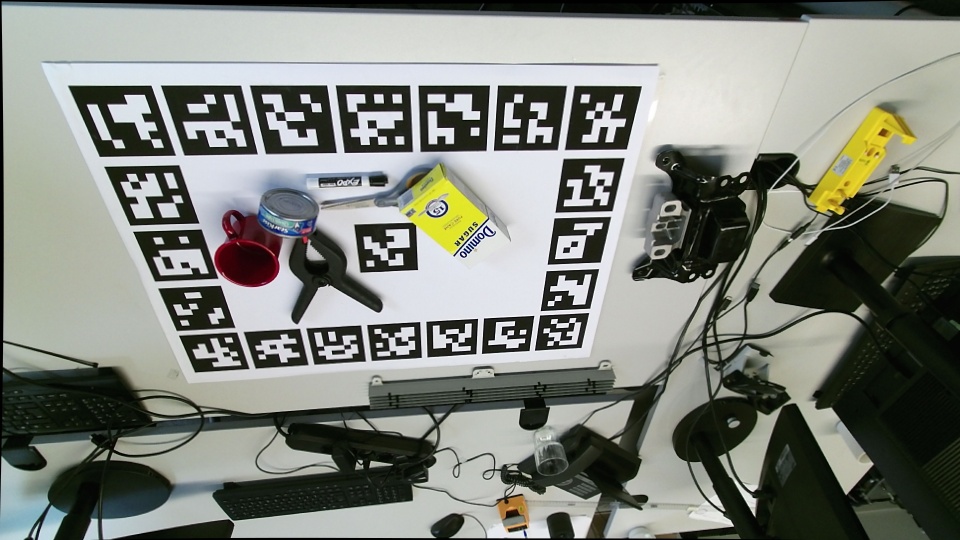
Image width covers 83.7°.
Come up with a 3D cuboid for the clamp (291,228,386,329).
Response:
[{"bbox_3d":[-0.267,0.011,0.929,0.166,0.036,0.203,-11,126,0],"label":"clamp"}]

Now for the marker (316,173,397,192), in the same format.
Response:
[{"bbox_3d":[-0.190,-0.136,0.832,0.121,0.019,0.019,-6,125,-5],"label":"marker"}]

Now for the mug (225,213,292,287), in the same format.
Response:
[{"bbox_3d":[-0.350,-0.041,0.842,0.093,0.081,0.117,-25,129,10],"label":"mug"}]

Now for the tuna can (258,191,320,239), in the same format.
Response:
[{"bbox_3d":[-0.289,-0.084,0.813,0.086,0.085,0.034,12,123,-17],"label":"tuna can"}]

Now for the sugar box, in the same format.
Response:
[{"bbox_3d":[-0.038,-0.081,0.873,0.093,0.045,0.177,-33,130,15],"label":"sugar box"}]

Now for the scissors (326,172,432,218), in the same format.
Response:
[{"bbox_3d":[-0.146,-0.103,0.859,0.203,0.016,0.088,-11,131,1],"label":"scissors"}]
